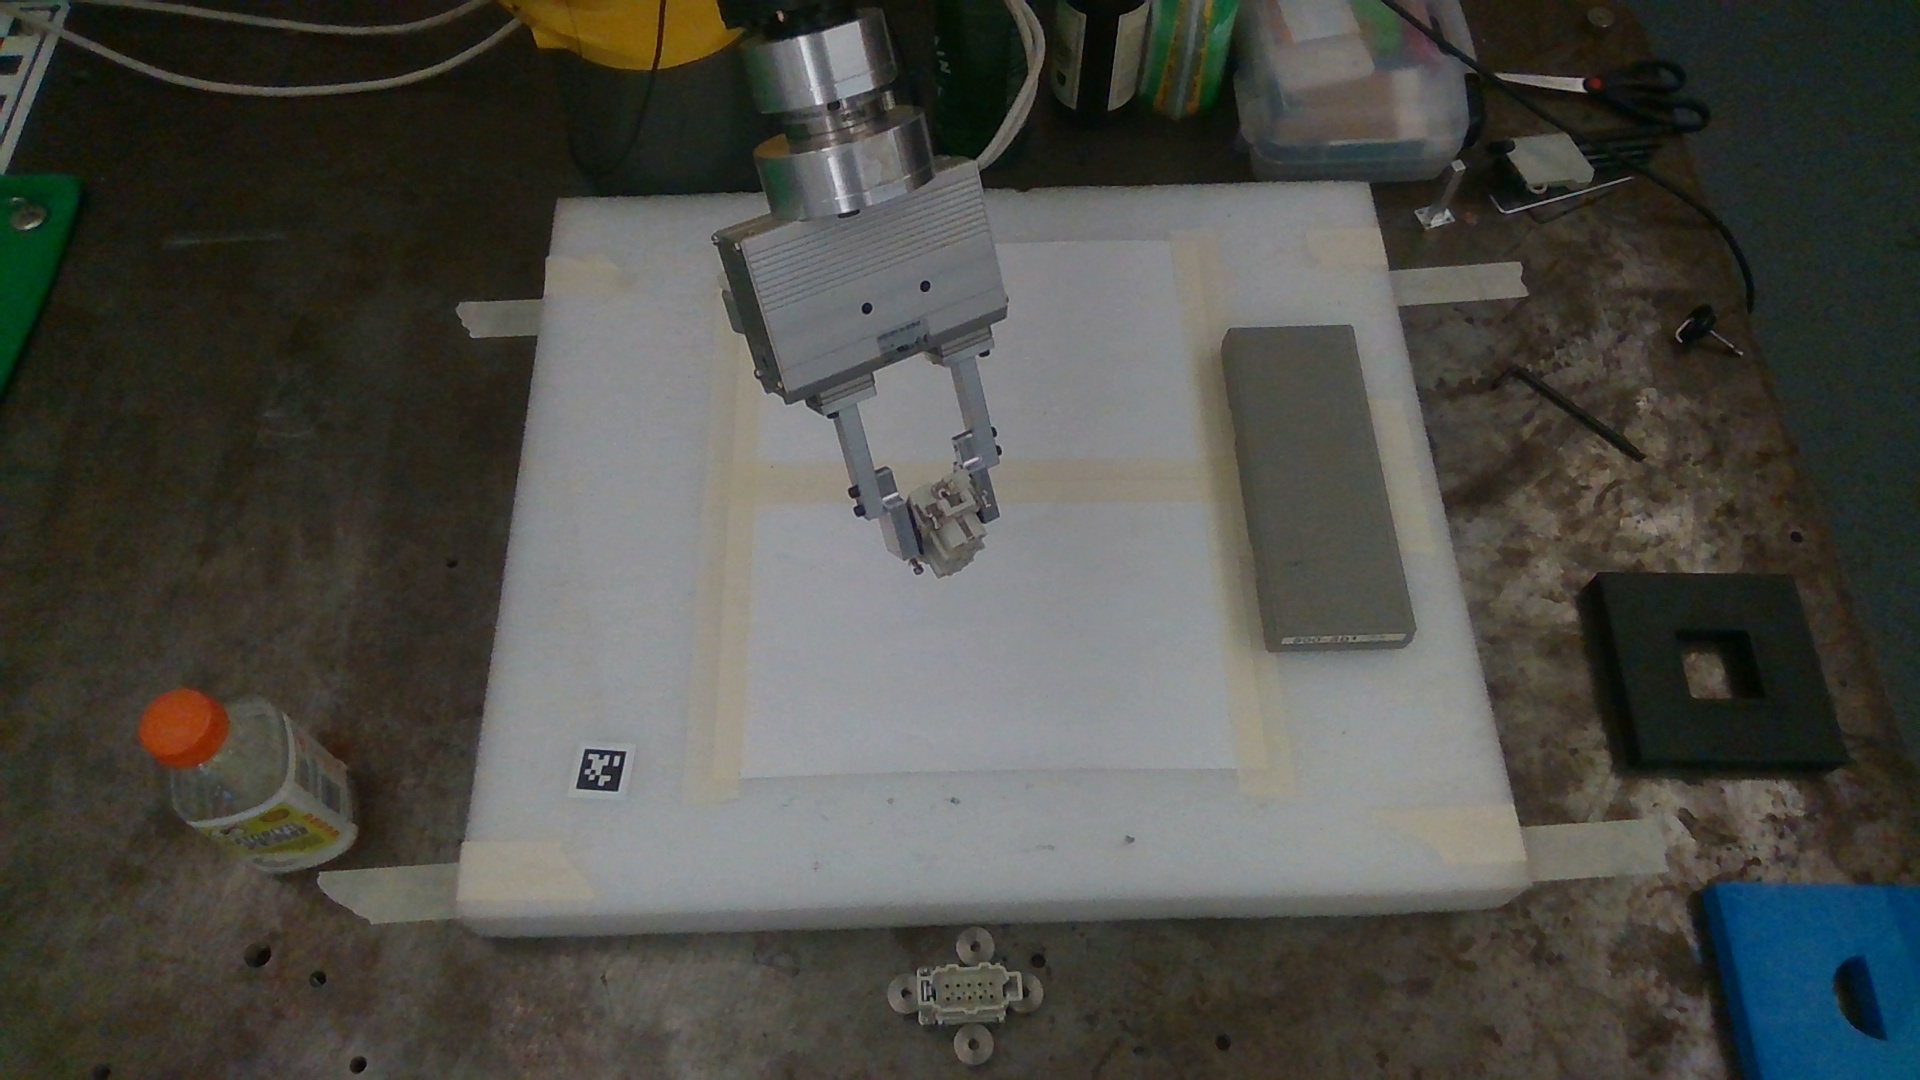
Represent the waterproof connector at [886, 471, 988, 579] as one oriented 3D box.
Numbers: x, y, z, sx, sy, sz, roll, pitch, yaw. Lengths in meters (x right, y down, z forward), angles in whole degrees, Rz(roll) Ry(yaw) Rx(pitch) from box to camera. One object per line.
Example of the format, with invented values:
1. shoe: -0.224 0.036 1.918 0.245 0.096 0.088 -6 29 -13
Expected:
1. waterproof connector: -0.010 -0.006 0.717 0.036 0.069 0.038 -21 76 -25
